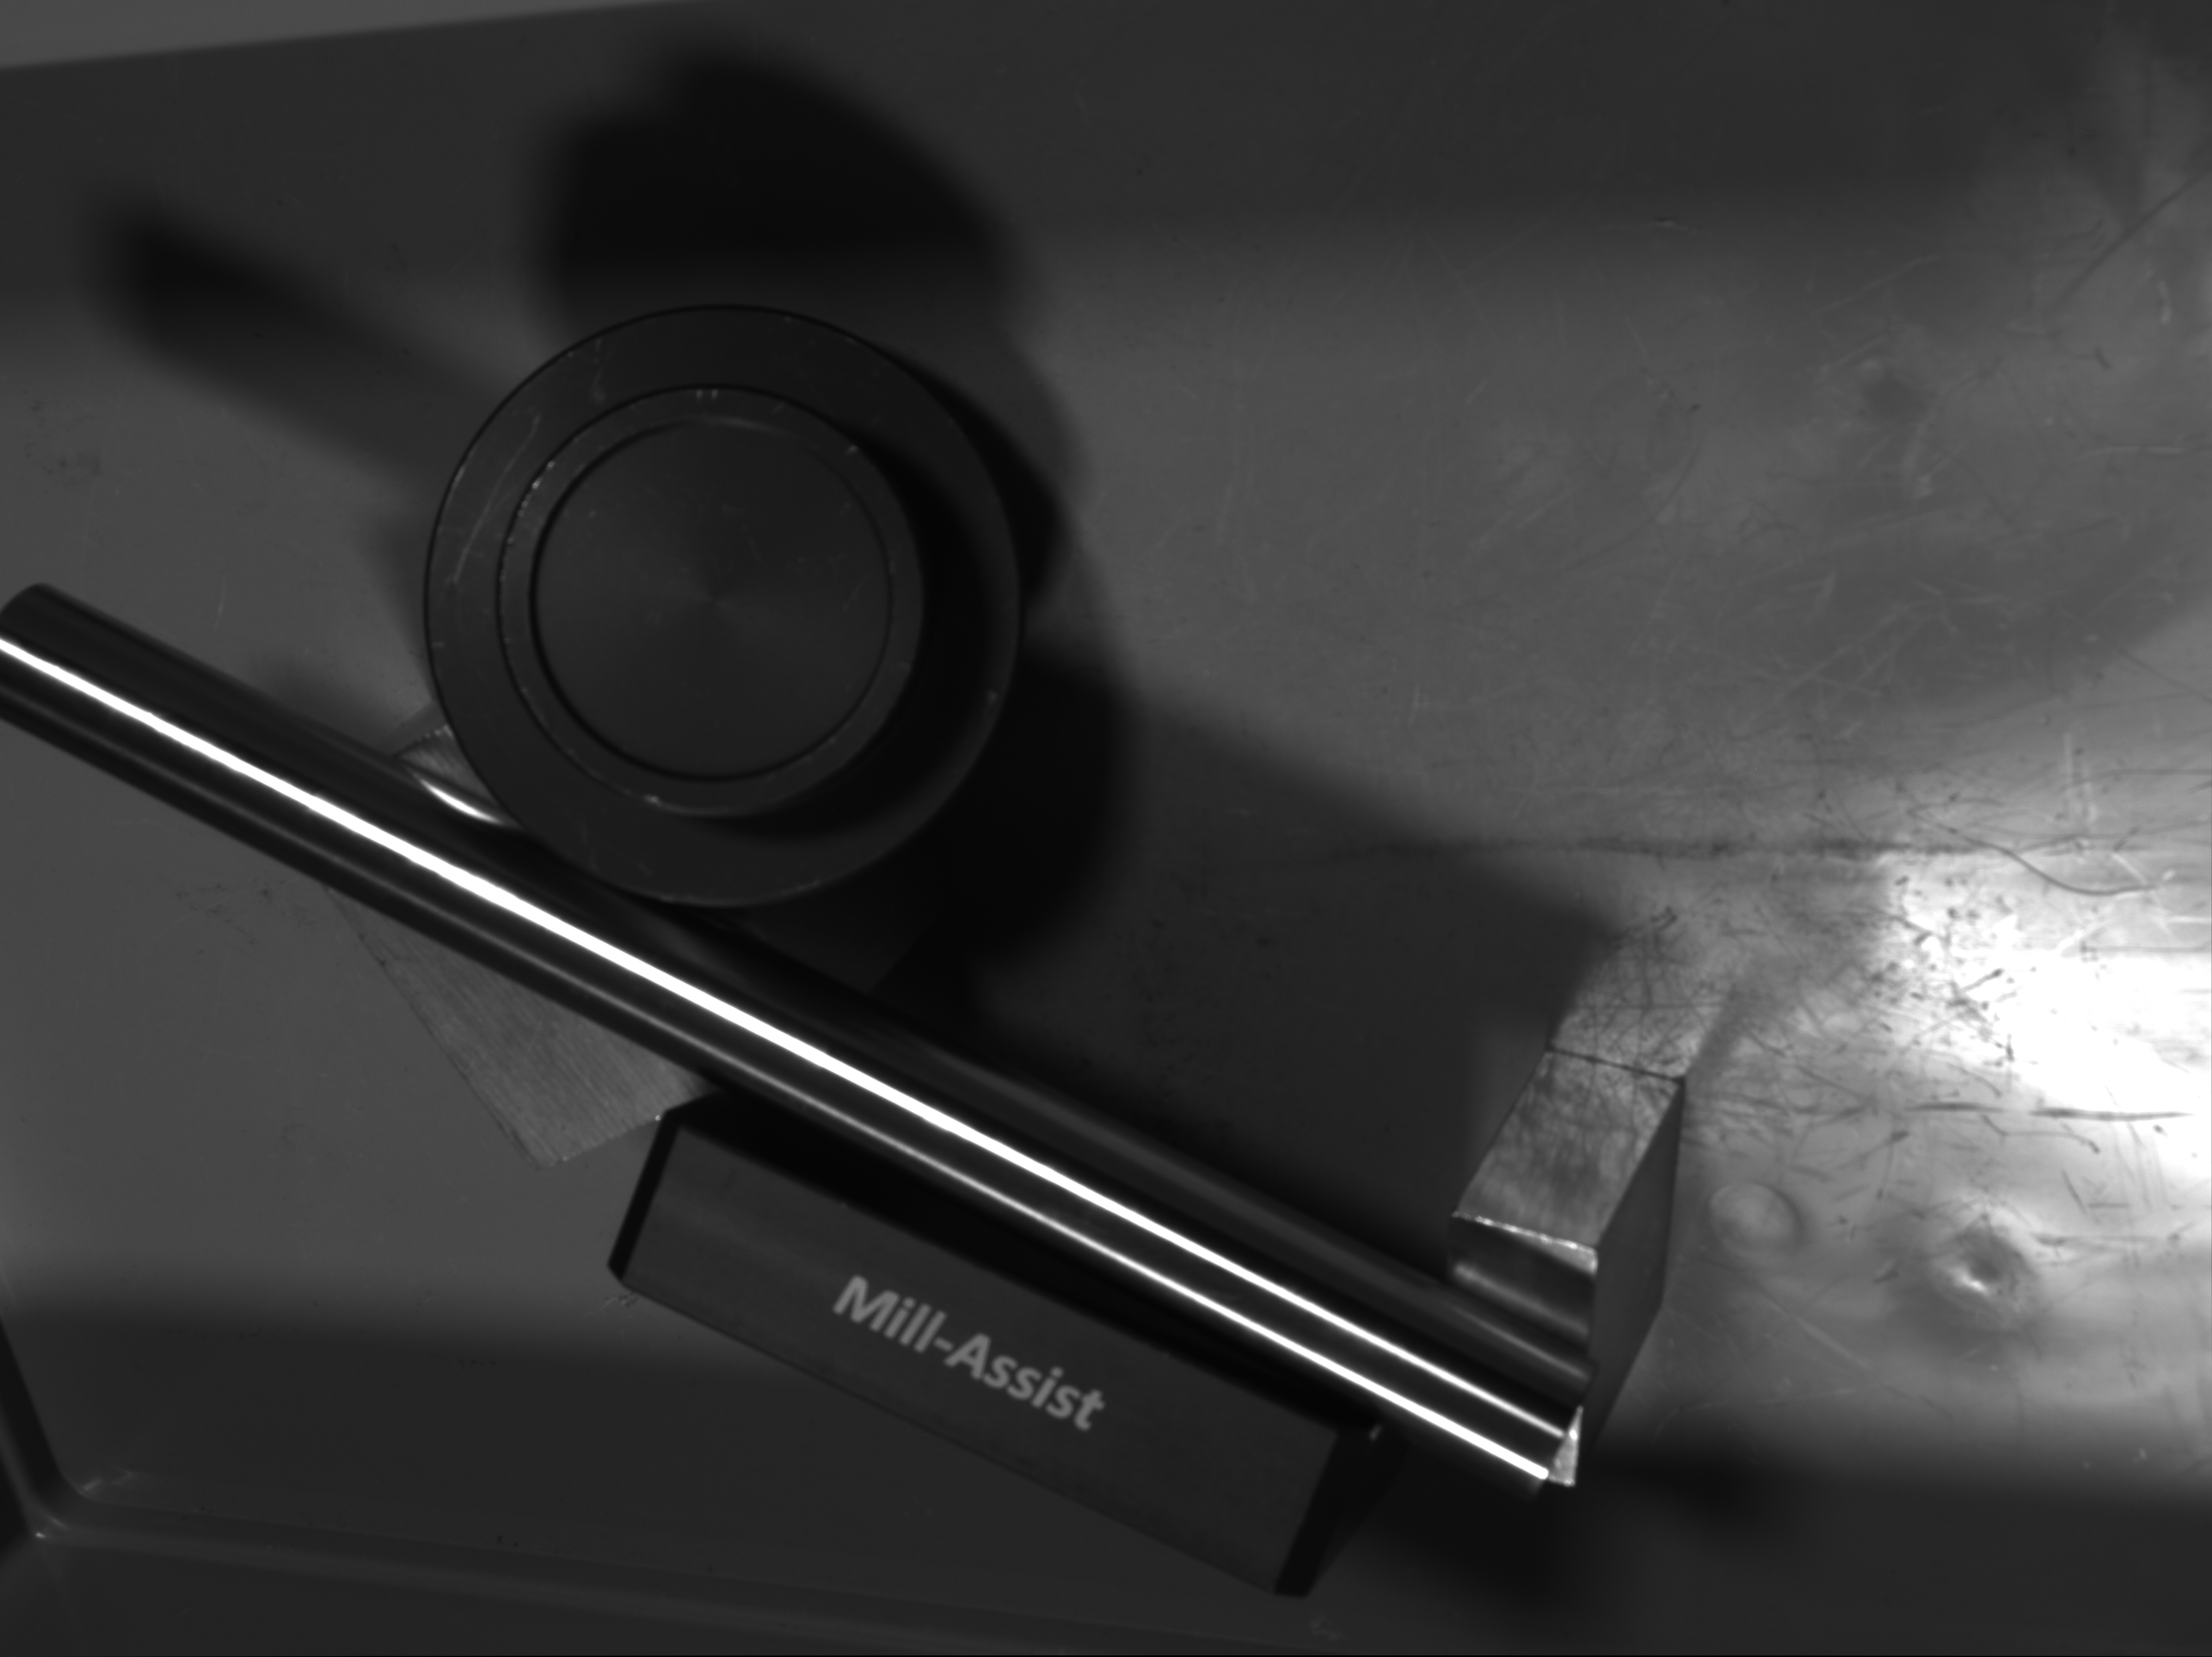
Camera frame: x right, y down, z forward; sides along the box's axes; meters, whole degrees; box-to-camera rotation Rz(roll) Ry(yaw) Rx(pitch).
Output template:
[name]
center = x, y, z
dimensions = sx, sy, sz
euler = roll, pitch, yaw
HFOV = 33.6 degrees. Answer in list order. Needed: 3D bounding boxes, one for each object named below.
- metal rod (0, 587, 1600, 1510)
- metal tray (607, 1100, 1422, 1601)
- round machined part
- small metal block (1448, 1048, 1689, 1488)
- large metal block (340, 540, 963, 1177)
[metal rod]
center = -0.059, 0.033, 0.614
dimensions = 0.300, 0.025, 0.025
euler = 26, 127, 11
[metal tray]
center = -0.011, 0.084, 0.640
dimensions = 0.130, 0.090, 0.030
euler = 24, 99, 12
[round machined part]
center = -0.062, -0.036, 0.595
dimensions = 0.098, 0.042, 0.098
euler = 0, 91, -1
[small metal block]
center = 0.077, 0.074, 0.620
dimensions = 0.025, 0.050, 0.050
euler = 13, 123, 19
[large metal block]
center = -0.087, 0.006, 0.661
dimensions = 0.080, 0.050, 0.080
euler = -25, 105, 35
